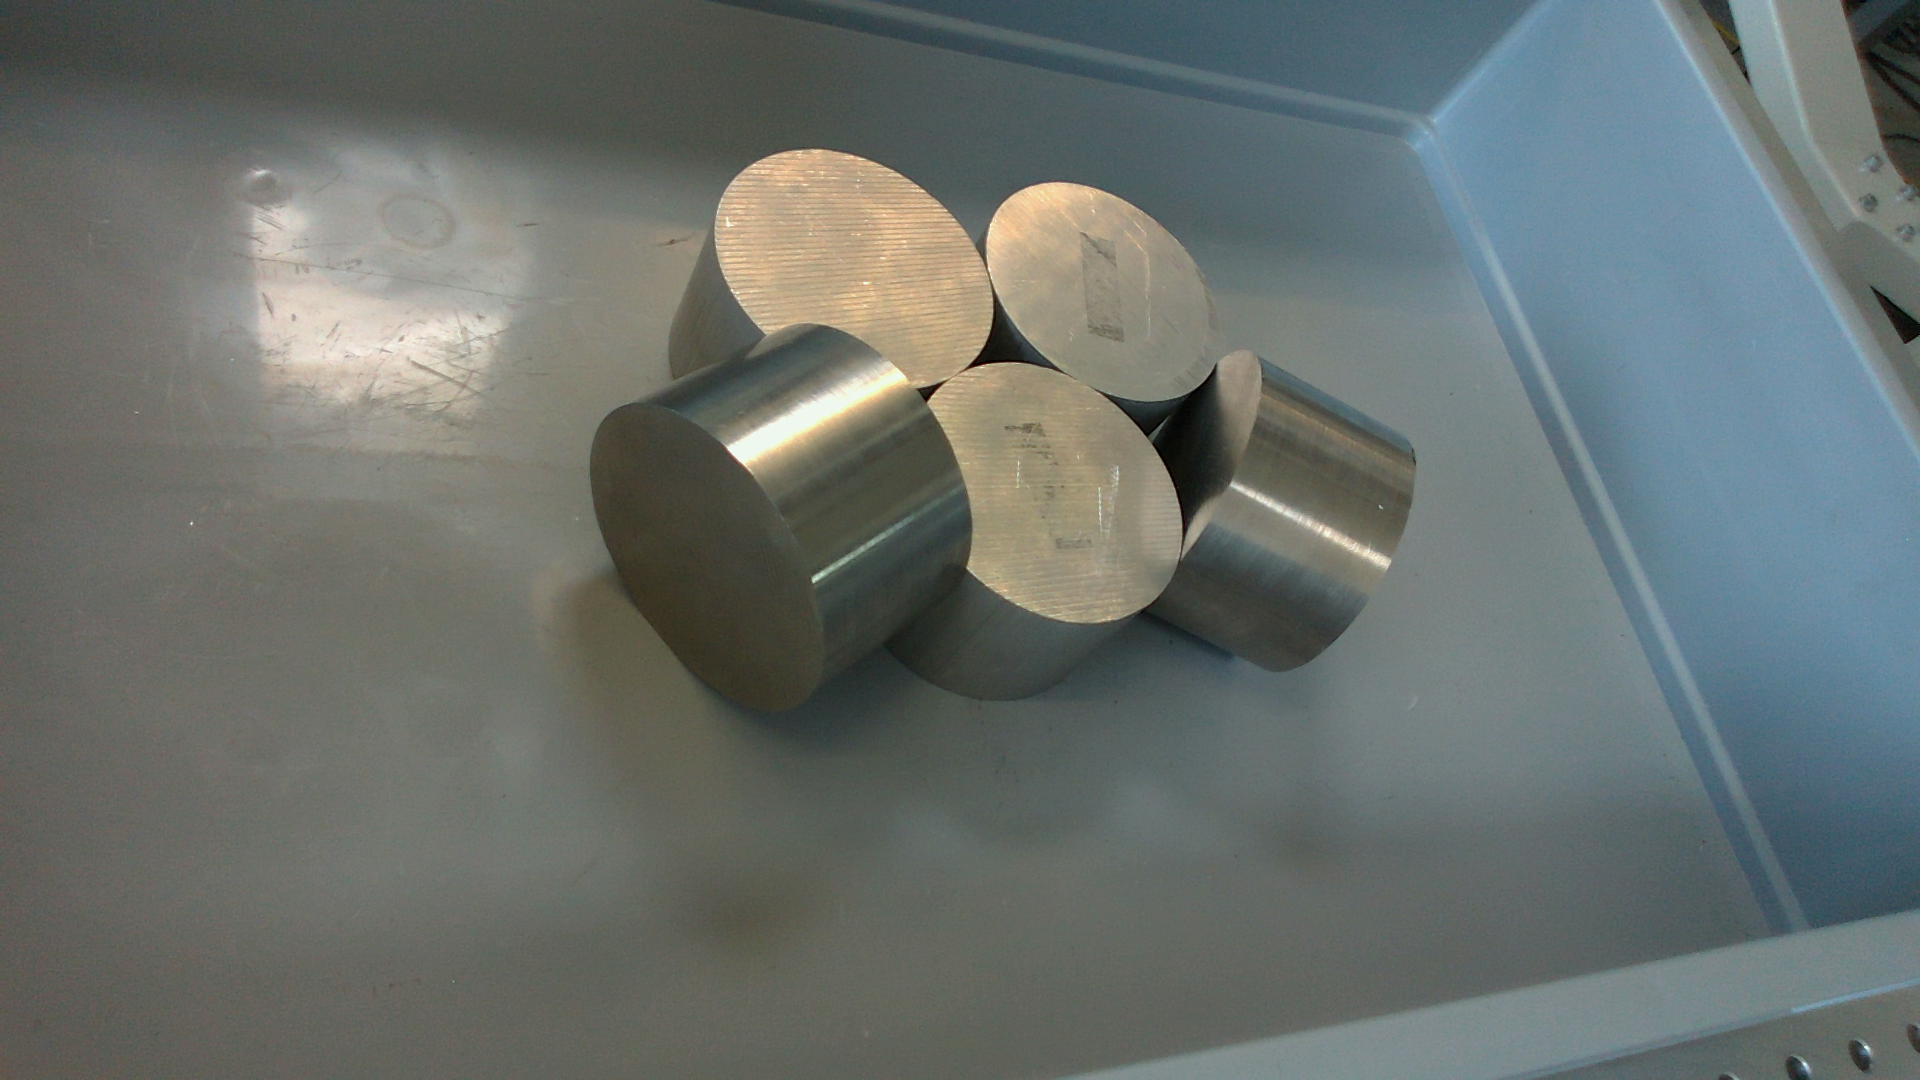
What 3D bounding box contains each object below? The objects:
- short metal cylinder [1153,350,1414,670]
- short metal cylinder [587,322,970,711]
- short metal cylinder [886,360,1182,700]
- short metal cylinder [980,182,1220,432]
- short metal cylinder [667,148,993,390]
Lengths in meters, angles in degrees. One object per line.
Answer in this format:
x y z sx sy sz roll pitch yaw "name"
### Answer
0.086 -0.008 0.404 0.050 0.080 0.080 26 52 -12 "short metal cylinder"
-0.044 -0.006 0.333 0.050 0.080 0.080 -34 81 -38 "short metal cylinder"
0.014 -0.002 0.381 0.080 0.050 0.080 14 56 -21 "short metal cylinder"
0.033 -0.064 0.429 0.080 0.050 0.080 14 56 -21 "short metal cylinder"
-0.038 -0.063 0.390 0.080 0.050 0.080 14 56 -21 "short metal cylinder"
